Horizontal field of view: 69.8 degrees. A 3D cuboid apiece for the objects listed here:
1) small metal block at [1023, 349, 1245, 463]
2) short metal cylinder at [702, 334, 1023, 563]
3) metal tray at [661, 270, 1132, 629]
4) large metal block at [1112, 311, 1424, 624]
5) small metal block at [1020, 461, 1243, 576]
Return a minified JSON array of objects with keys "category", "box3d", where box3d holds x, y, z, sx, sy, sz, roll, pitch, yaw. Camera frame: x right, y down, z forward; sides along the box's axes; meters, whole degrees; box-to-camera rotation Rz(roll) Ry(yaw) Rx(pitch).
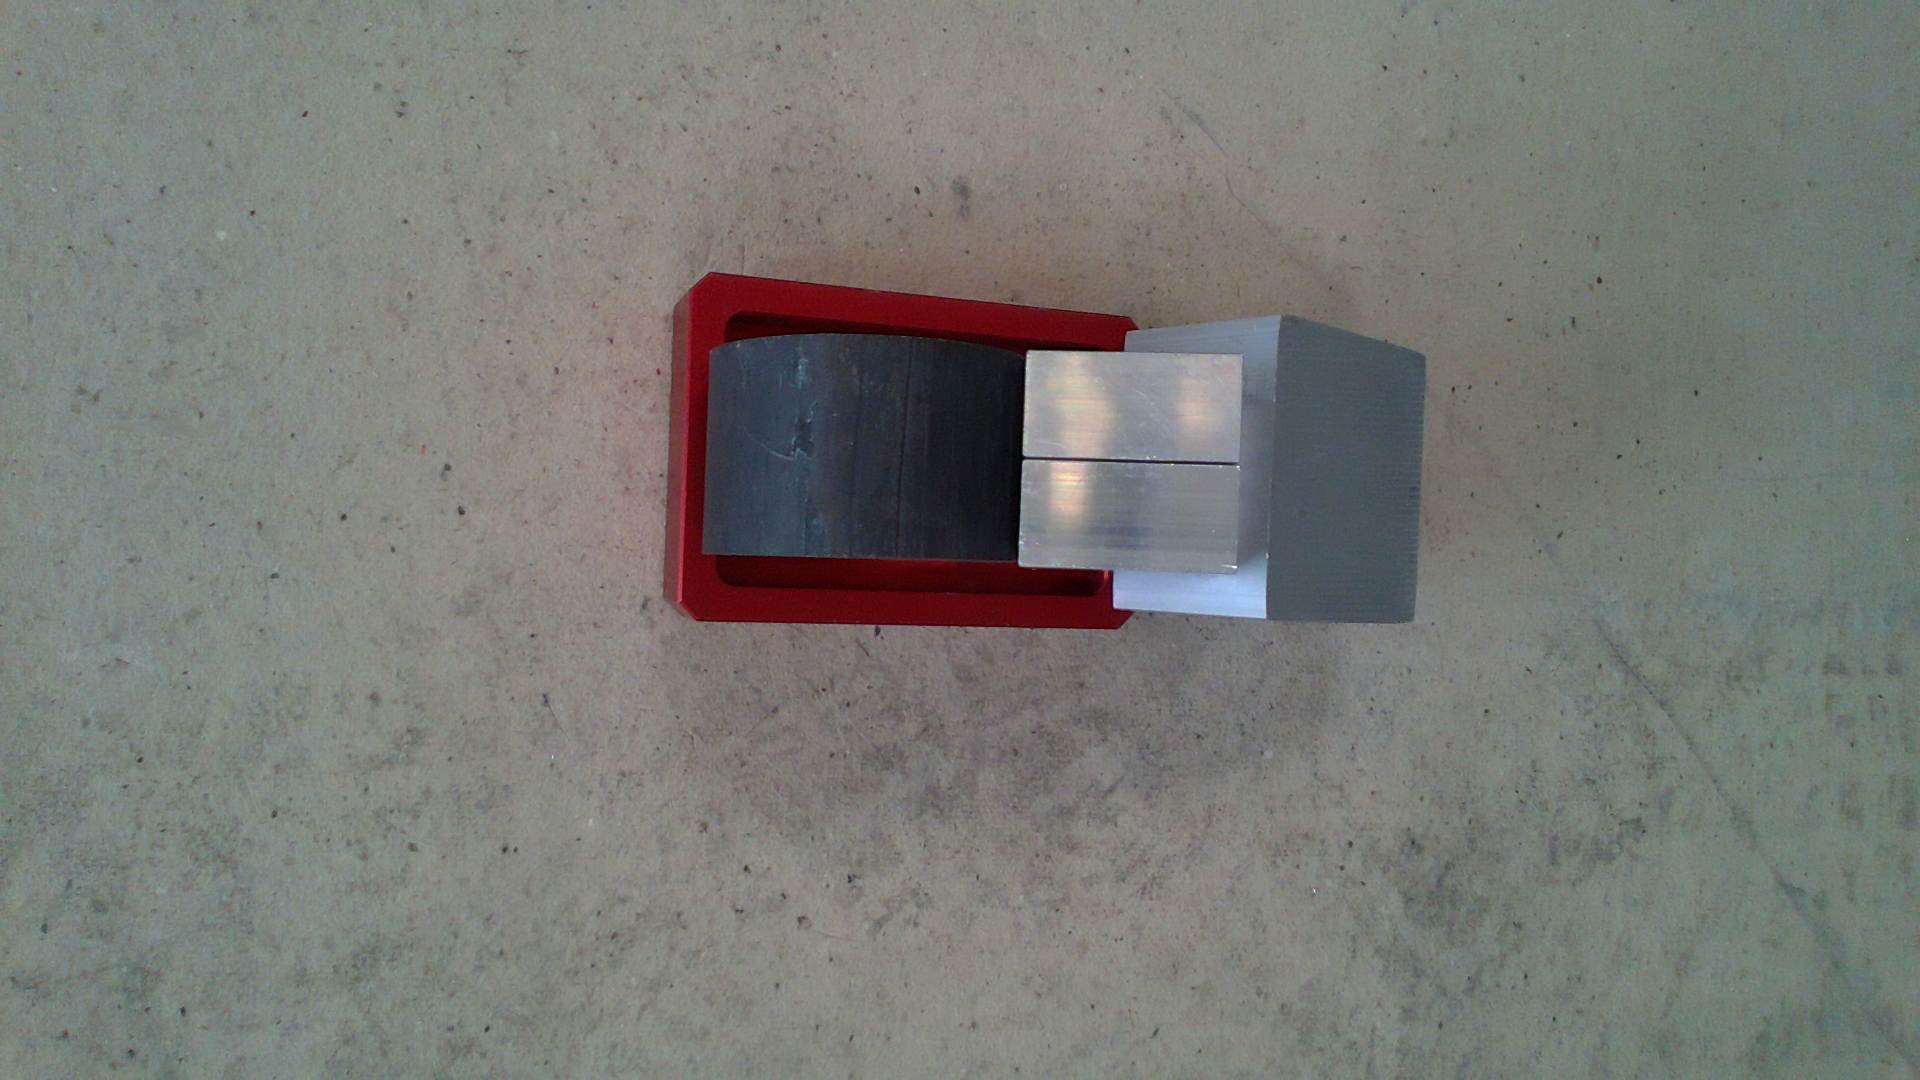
[{"category":"small metal block","box3d":[0.043,-0.030,0.340,0.050,0.050,0.025,2,88,6]},{"category":"short metal cylinder","box3d":[-0.023,-0.020,0.342,0.080,0.080,0.050,1,90,-20]},{"category":"metal tray","box3d":[-0.014,-0.022,0.385,0.130,0.030,0.090,2,89,-20]},{"category":"large metal block","box3d":[0.090,-0.018,0.398,0.080,0.050,0.080,4,89,-46]},{"category":"small metal block","box3d":[0.042,-0.004,0.339,0.050,0.050,0.025,2,88,6]}]
